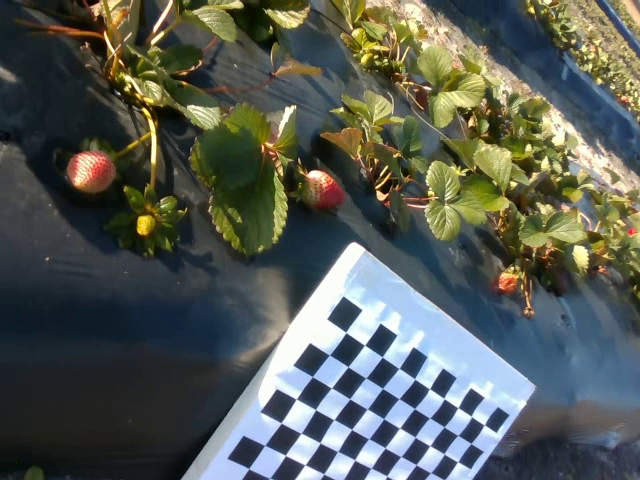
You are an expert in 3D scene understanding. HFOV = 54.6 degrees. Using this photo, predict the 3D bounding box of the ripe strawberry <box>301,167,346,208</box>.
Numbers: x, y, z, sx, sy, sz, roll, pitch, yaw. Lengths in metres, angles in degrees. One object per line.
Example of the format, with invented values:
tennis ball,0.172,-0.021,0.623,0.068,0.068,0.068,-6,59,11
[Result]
ripe strawberry,0.007,-0.051,0.621,0.063,0.045,0.043,18,8,-34
